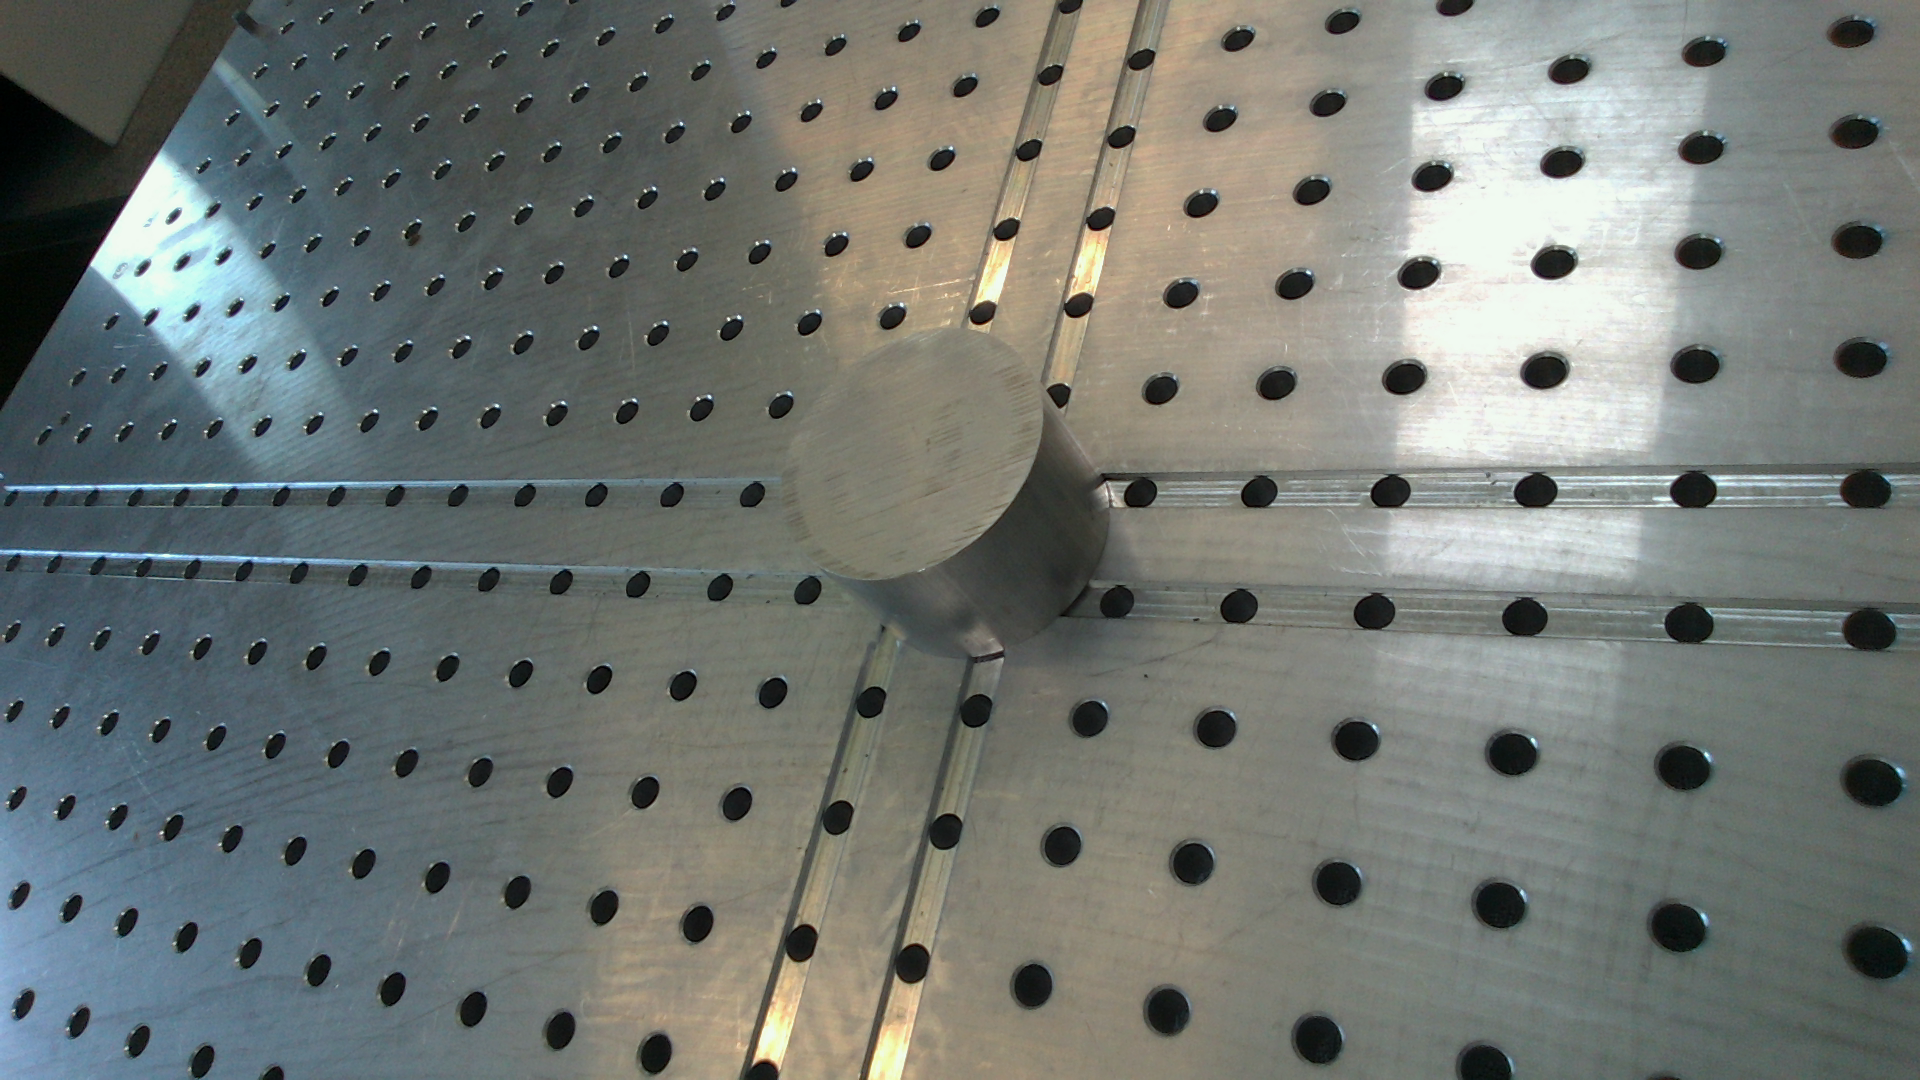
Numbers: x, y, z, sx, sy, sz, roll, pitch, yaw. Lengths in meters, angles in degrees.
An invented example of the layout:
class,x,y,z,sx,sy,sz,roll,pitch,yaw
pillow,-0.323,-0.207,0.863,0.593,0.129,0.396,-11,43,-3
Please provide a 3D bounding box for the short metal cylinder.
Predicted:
class,x,y,z,sx,sy,sz,roll,pitch,yaw
short metal cylinder,-0.004,-0.013,0.391,0.080,0.050,0.080,-13,56,21
